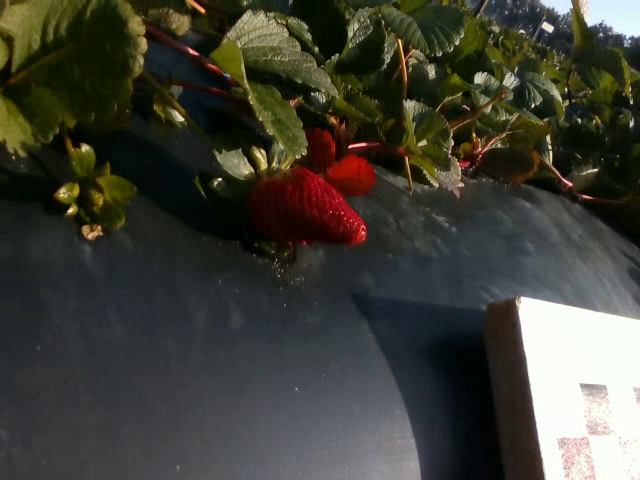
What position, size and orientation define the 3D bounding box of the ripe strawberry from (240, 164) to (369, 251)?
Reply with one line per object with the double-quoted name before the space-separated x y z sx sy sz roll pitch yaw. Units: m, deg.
"ripe strawberry" -0.003 -0.011 0.251 0.056 0.041 0.041 23 51 21
